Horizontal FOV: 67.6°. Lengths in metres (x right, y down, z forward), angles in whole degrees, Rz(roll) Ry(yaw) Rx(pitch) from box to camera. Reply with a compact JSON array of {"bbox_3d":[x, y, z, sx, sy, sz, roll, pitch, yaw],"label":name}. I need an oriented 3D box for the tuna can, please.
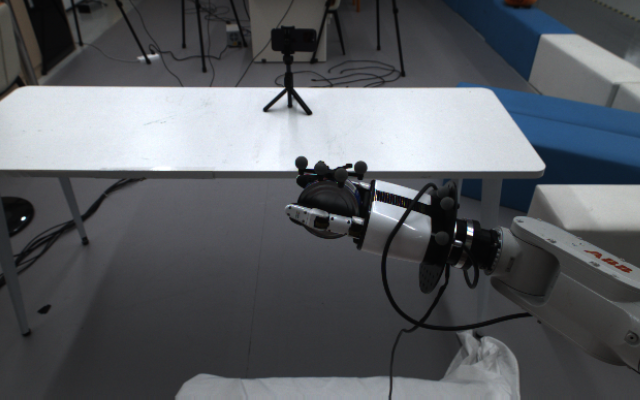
[{"bbox_3d":[0.014,0.007,0.663,0.085,0.085,0.034,9,23,10],"label":"tuna can"}]
